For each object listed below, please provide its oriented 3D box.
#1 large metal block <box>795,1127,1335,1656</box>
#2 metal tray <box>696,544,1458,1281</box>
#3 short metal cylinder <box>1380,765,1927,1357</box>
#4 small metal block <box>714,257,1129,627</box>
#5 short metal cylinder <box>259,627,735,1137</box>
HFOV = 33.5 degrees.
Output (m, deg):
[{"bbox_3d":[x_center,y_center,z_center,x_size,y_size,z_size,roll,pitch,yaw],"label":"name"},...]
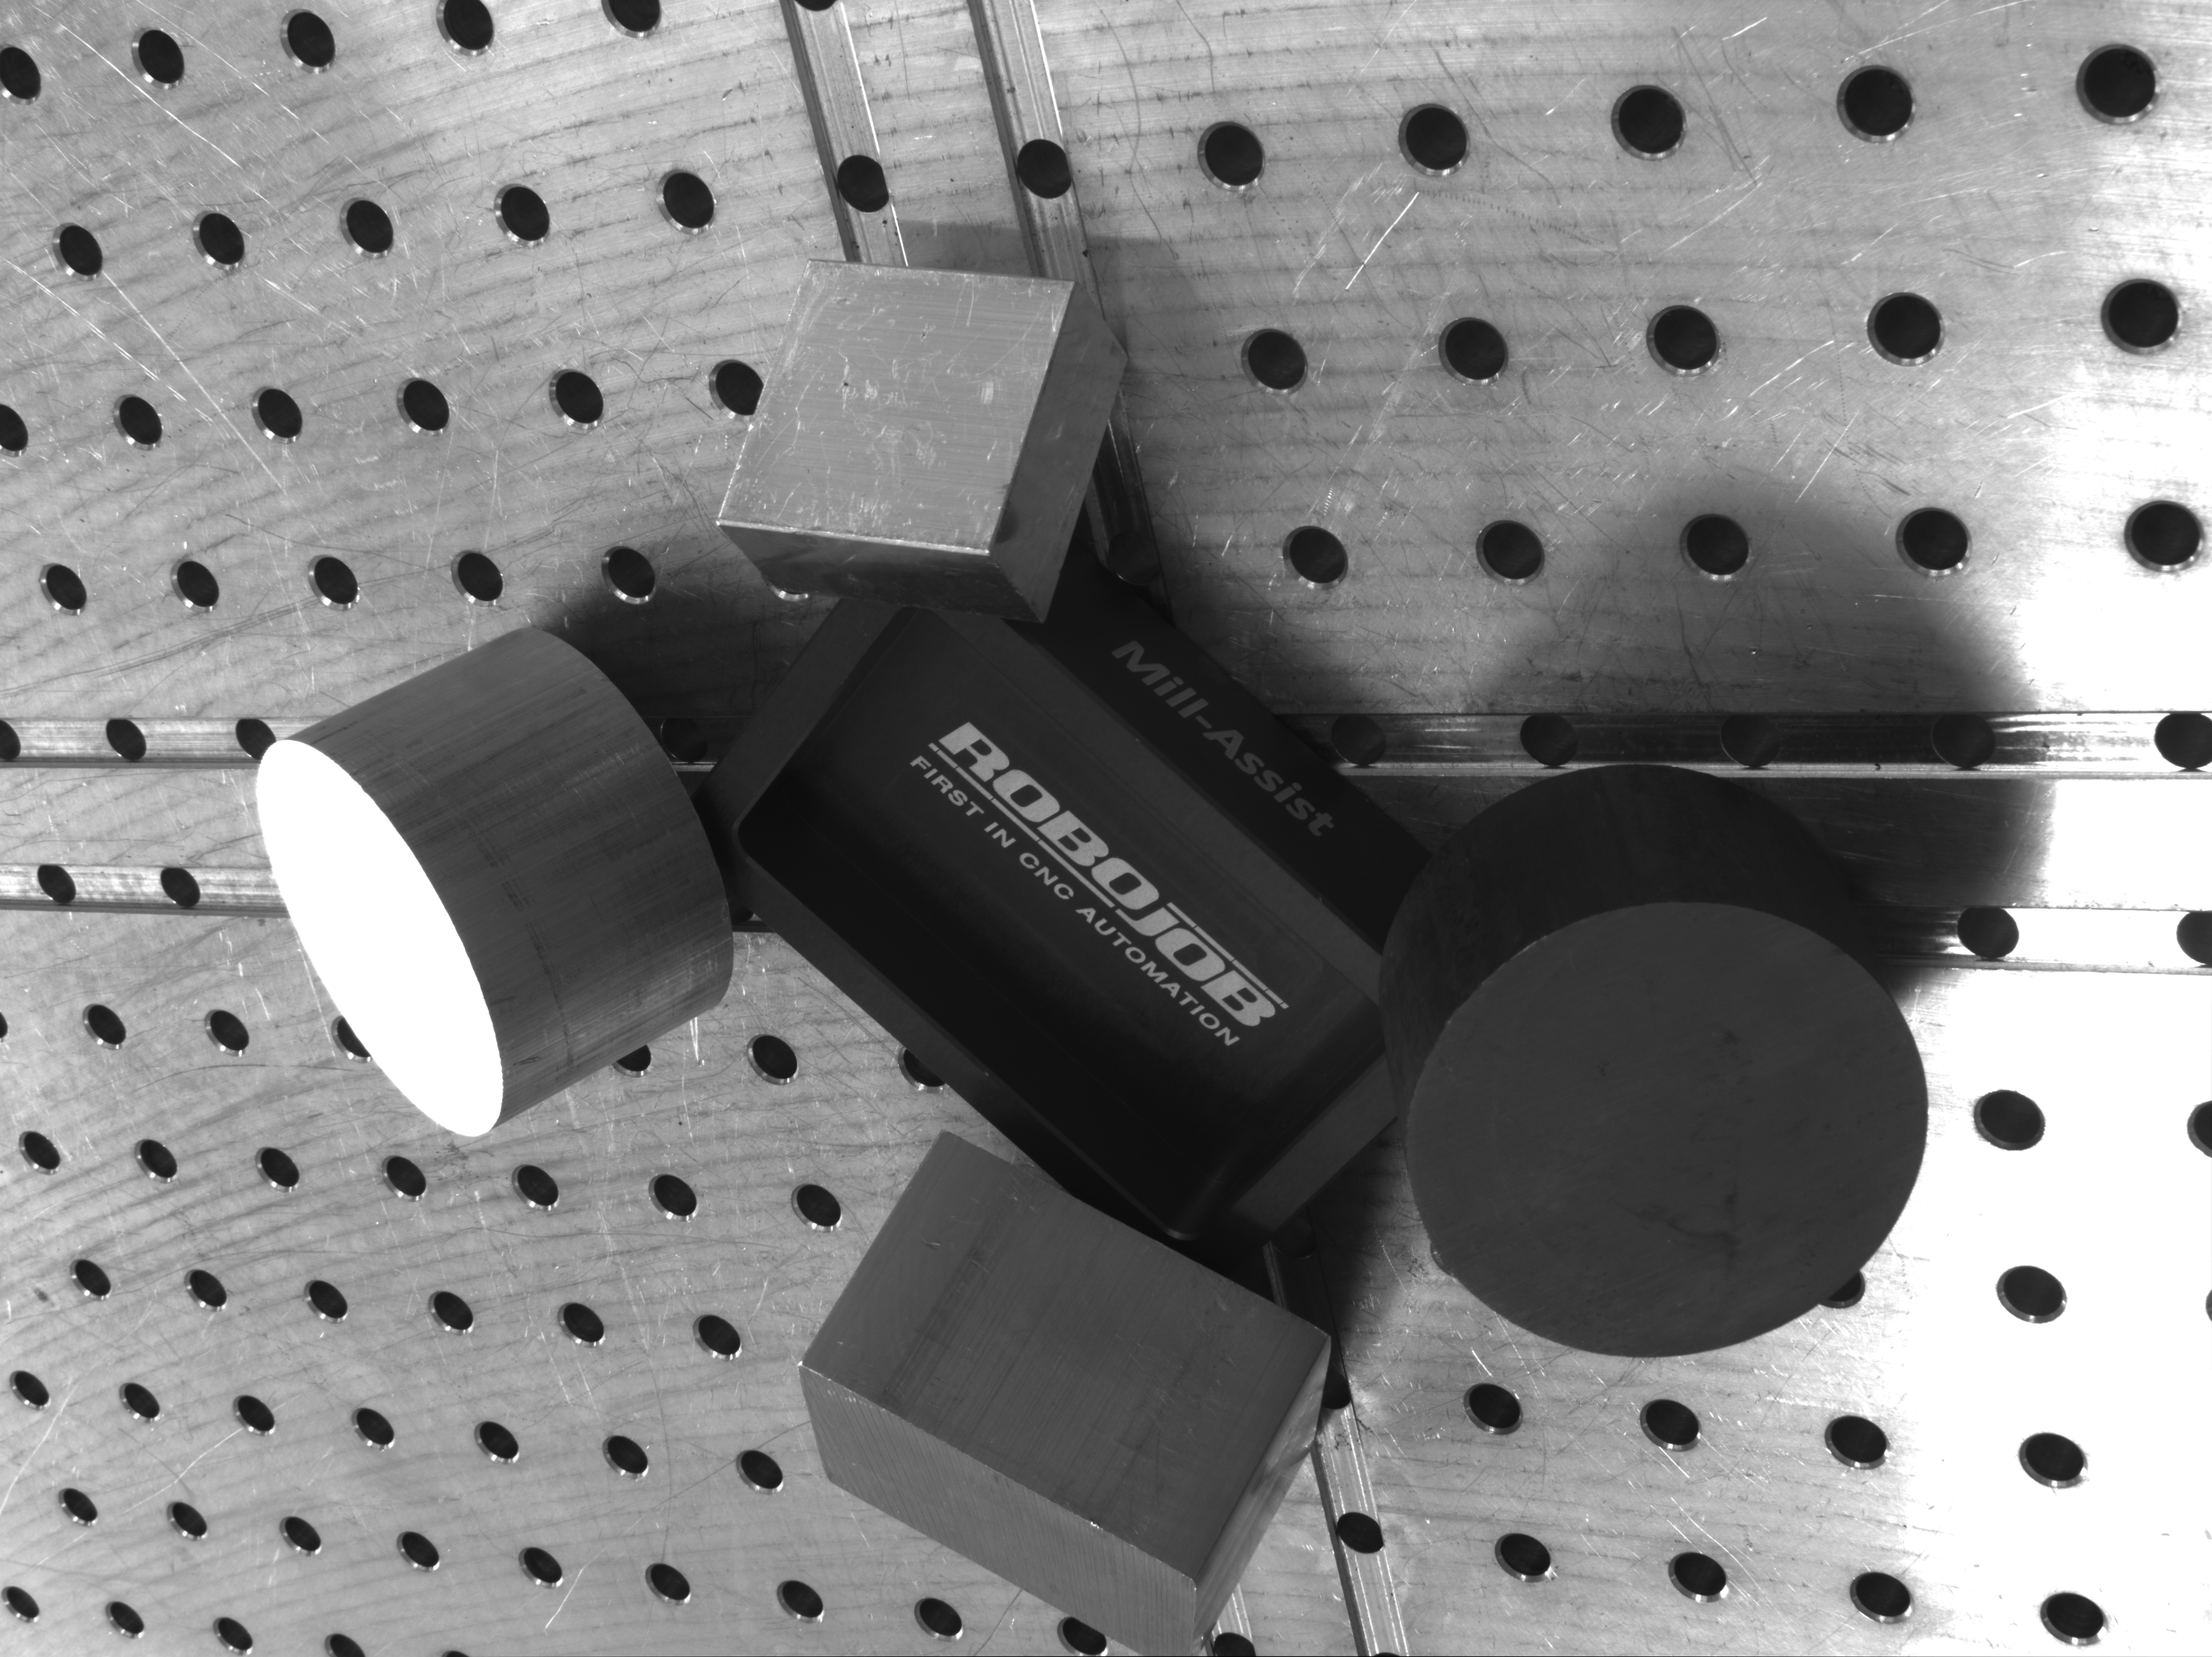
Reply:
[{"bbox_3d":[-0.007,0.108,0.678,0.080,0.050,0.080,27,158,11],"label":"large metal block"},{"bbox_3d":[-0.003,0.011,0.650,0.130,0.030,0.090,41,129,0],"label":"metal tray"},{"bbox_3d":[0.086,0.037,0.586,0.080,0.050,0.080,0,115,-1],"label":"short metal cylinder"},{"bbox_3d":[-0.030,-0.064,0.603,0.050,0.050,0.025,9,160,24],"label":"small metal block"},{"bbox_3d":[-0.113,0.010,0.677,0.080,0.050,0.080,37,143,35],"label":"short metal cylinder"}]
